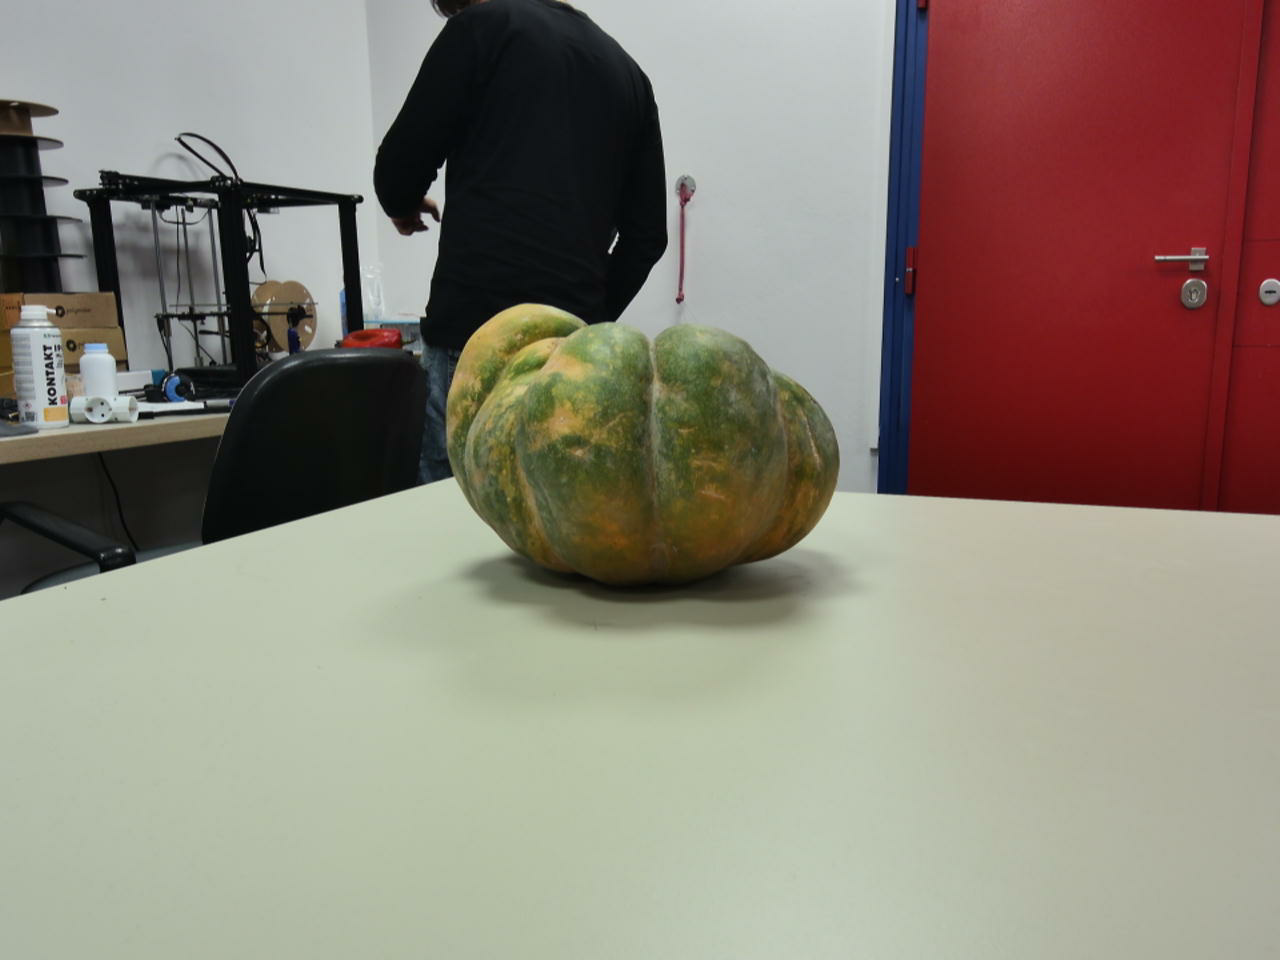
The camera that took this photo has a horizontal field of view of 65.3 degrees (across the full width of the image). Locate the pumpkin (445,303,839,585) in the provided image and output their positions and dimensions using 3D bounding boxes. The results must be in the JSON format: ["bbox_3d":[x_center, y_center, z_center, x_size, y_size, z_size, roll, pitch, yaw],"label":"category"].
[{"bbox_3d":[0.000,-0.026,0.652,0.237,0.173,0.270,-4,8,-29],"label":"pumpkin"}]
